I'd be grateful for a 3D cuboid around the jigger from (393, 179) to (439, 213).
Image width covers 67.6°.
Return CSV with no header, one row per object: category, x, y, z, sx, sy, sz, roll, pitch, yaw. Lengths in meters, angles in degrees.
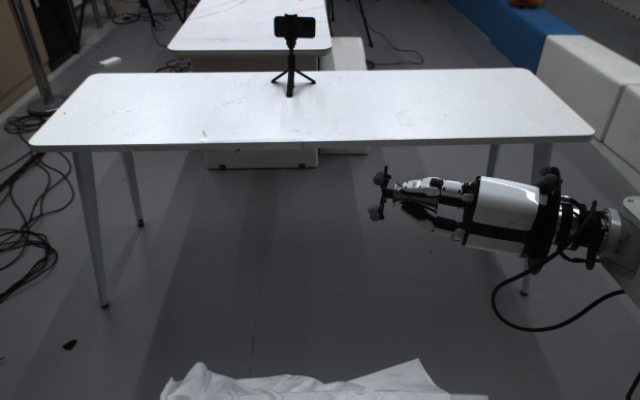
jigger,0.156,-0.009,0.755,0.071,0.043,0.043,8,35,12
